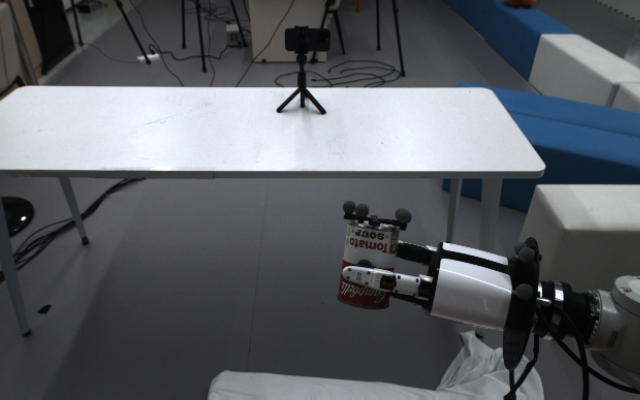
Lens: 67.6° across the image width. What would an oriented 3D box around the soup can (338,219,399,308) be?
[{"bbox_3d":[0.064,0.079,0.617,0.067,0.101,0.067,7,4,0],"label":"soup can"}]
